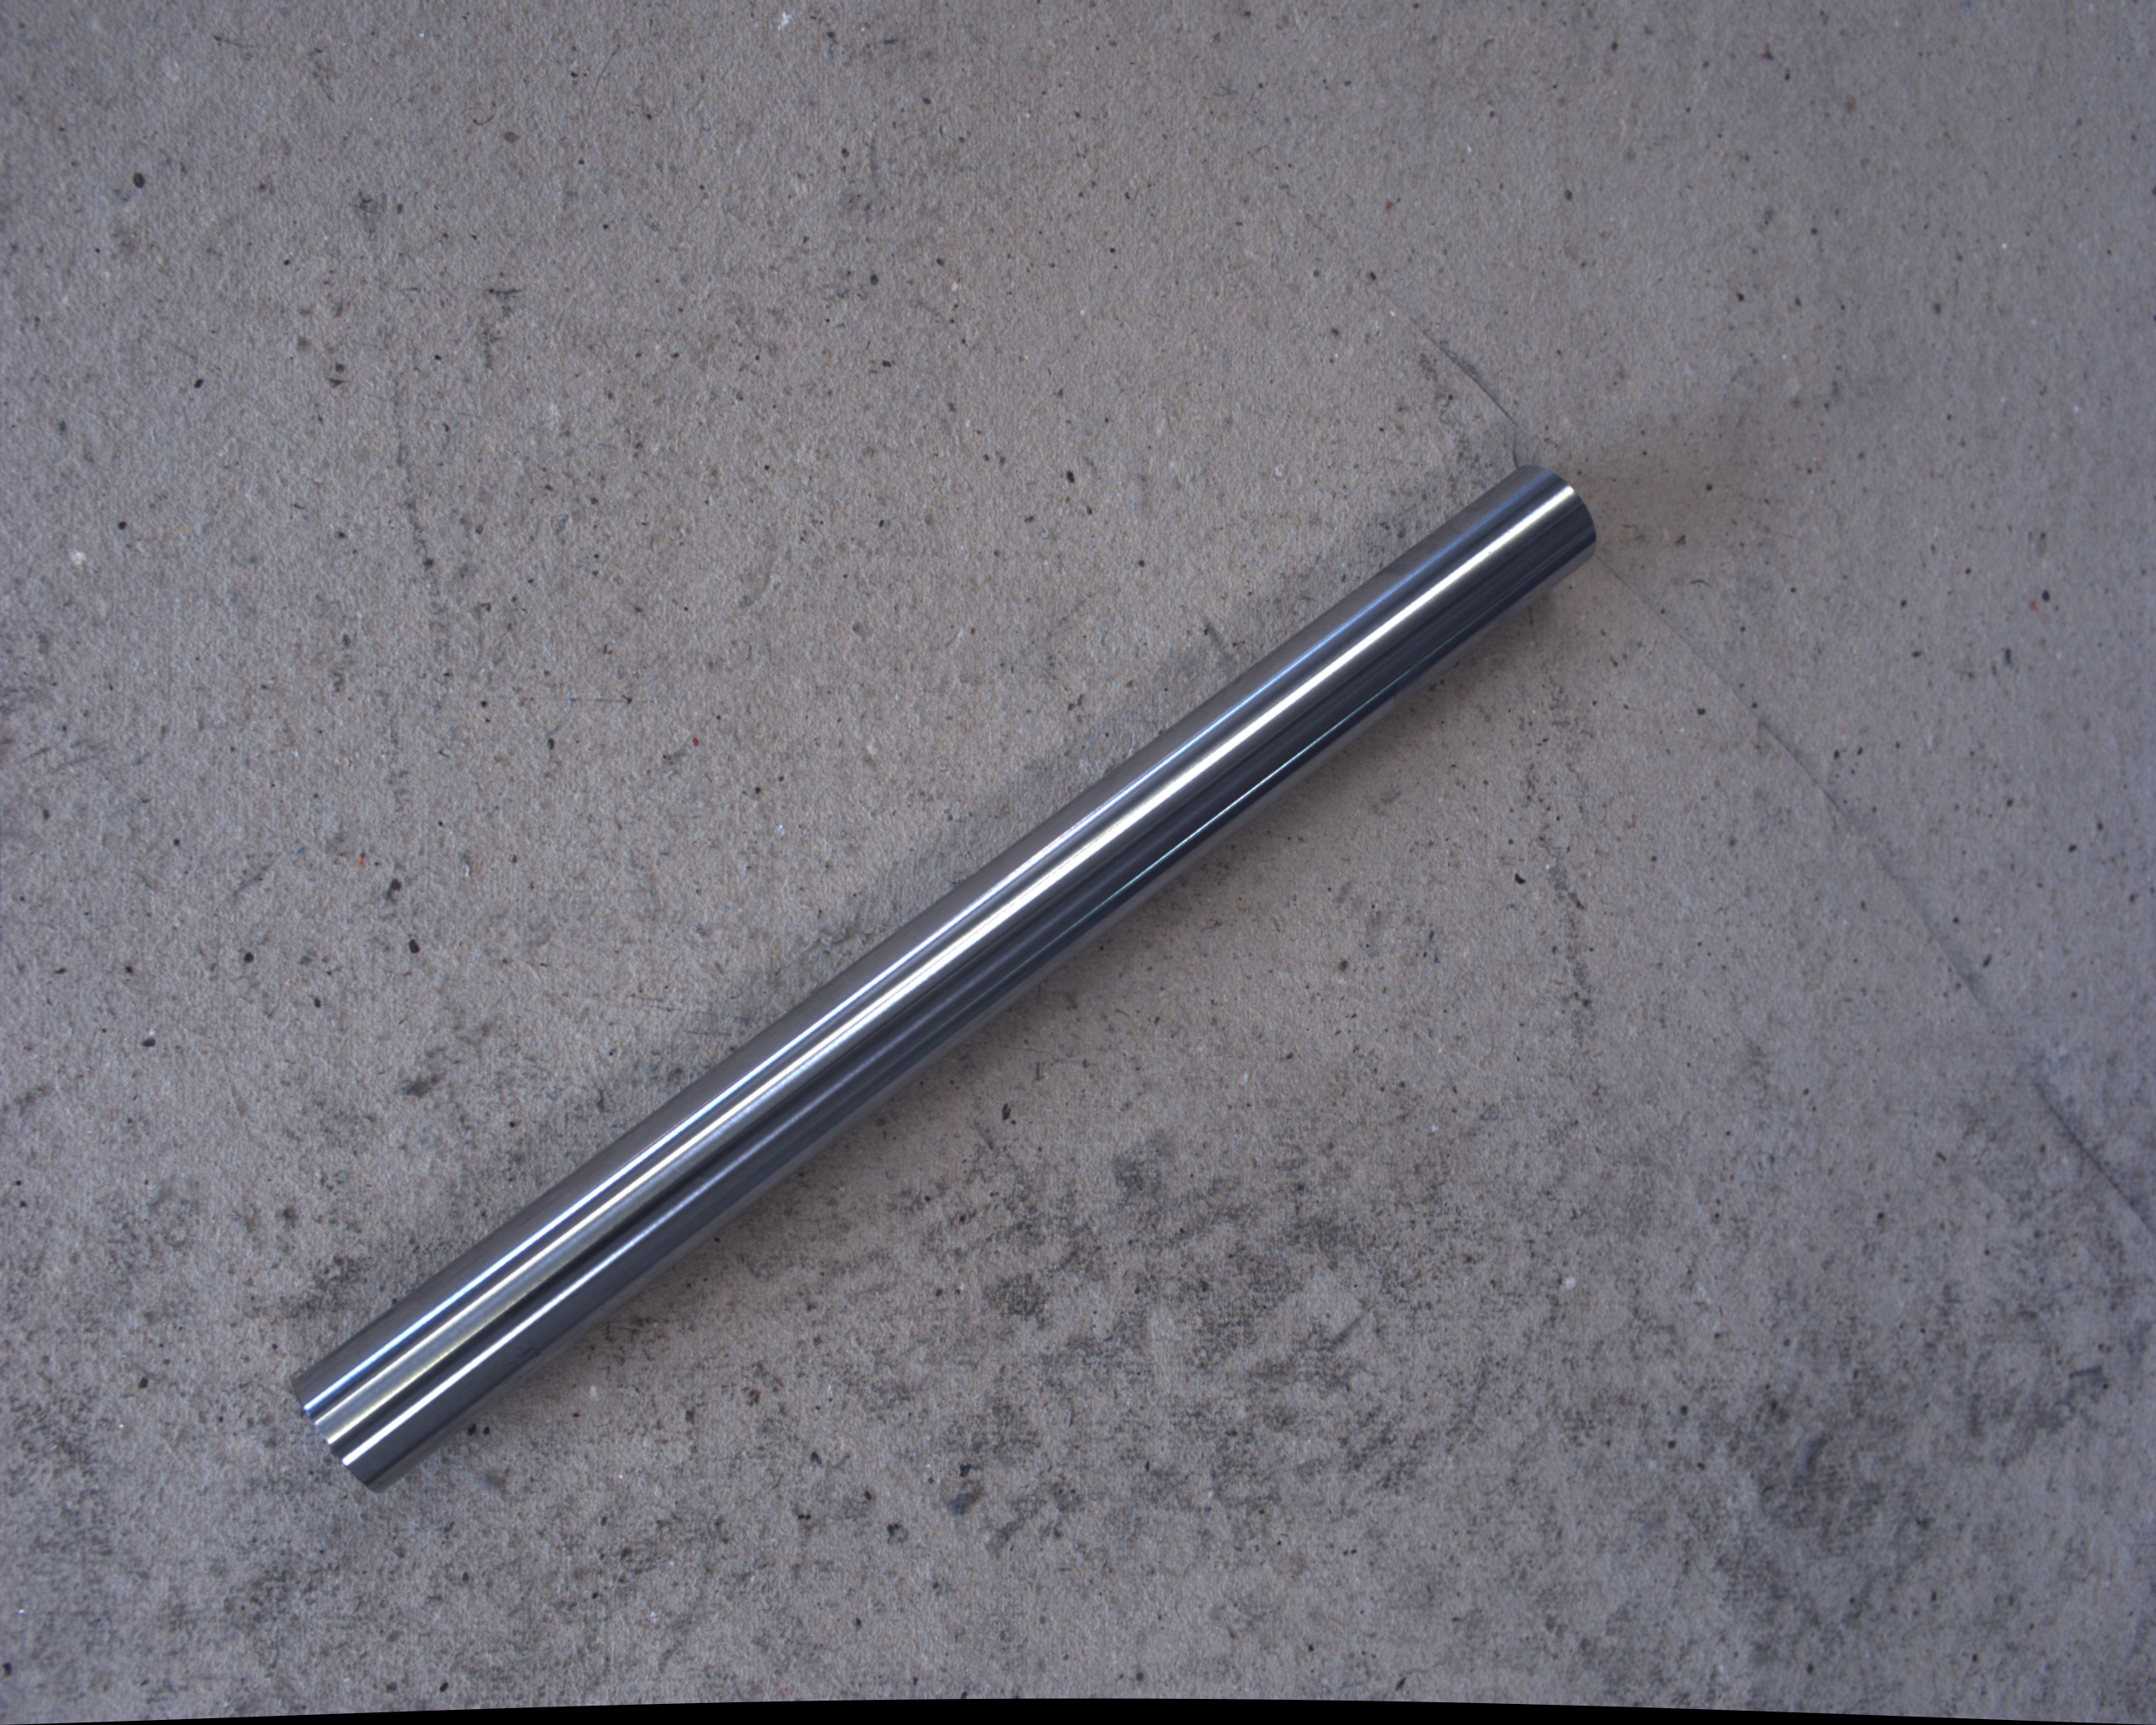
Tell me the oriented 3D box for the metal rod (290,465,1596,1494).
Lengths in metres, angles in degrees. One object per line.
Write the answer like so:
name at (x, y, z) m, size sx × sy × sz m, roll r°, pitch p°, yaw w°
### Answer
metal rod at (-0.014, 0.013, 0.405) m, size 0.301 × 0.025 × 0.025 m, roll -37°, pitch 102°, yaw -16°
